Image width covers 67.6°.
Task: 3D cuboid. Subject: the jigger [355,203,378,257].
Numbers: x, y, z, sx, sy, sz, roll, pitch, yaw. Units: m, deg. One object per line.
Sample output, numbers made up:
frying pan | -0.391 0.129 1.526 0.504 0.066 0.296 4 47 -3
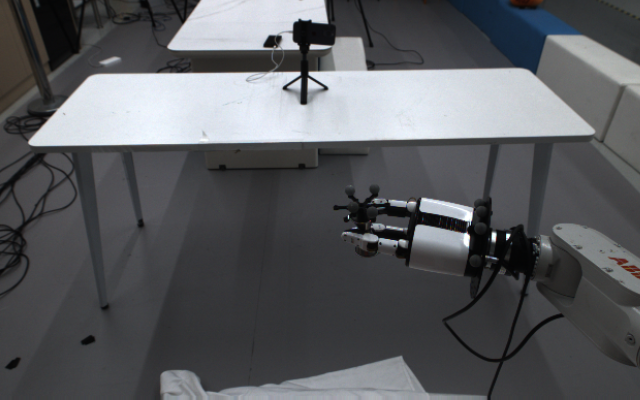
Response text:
jigger | 0.075 0.050 0.785 0.043 0.071 0.043 -9 31 5
